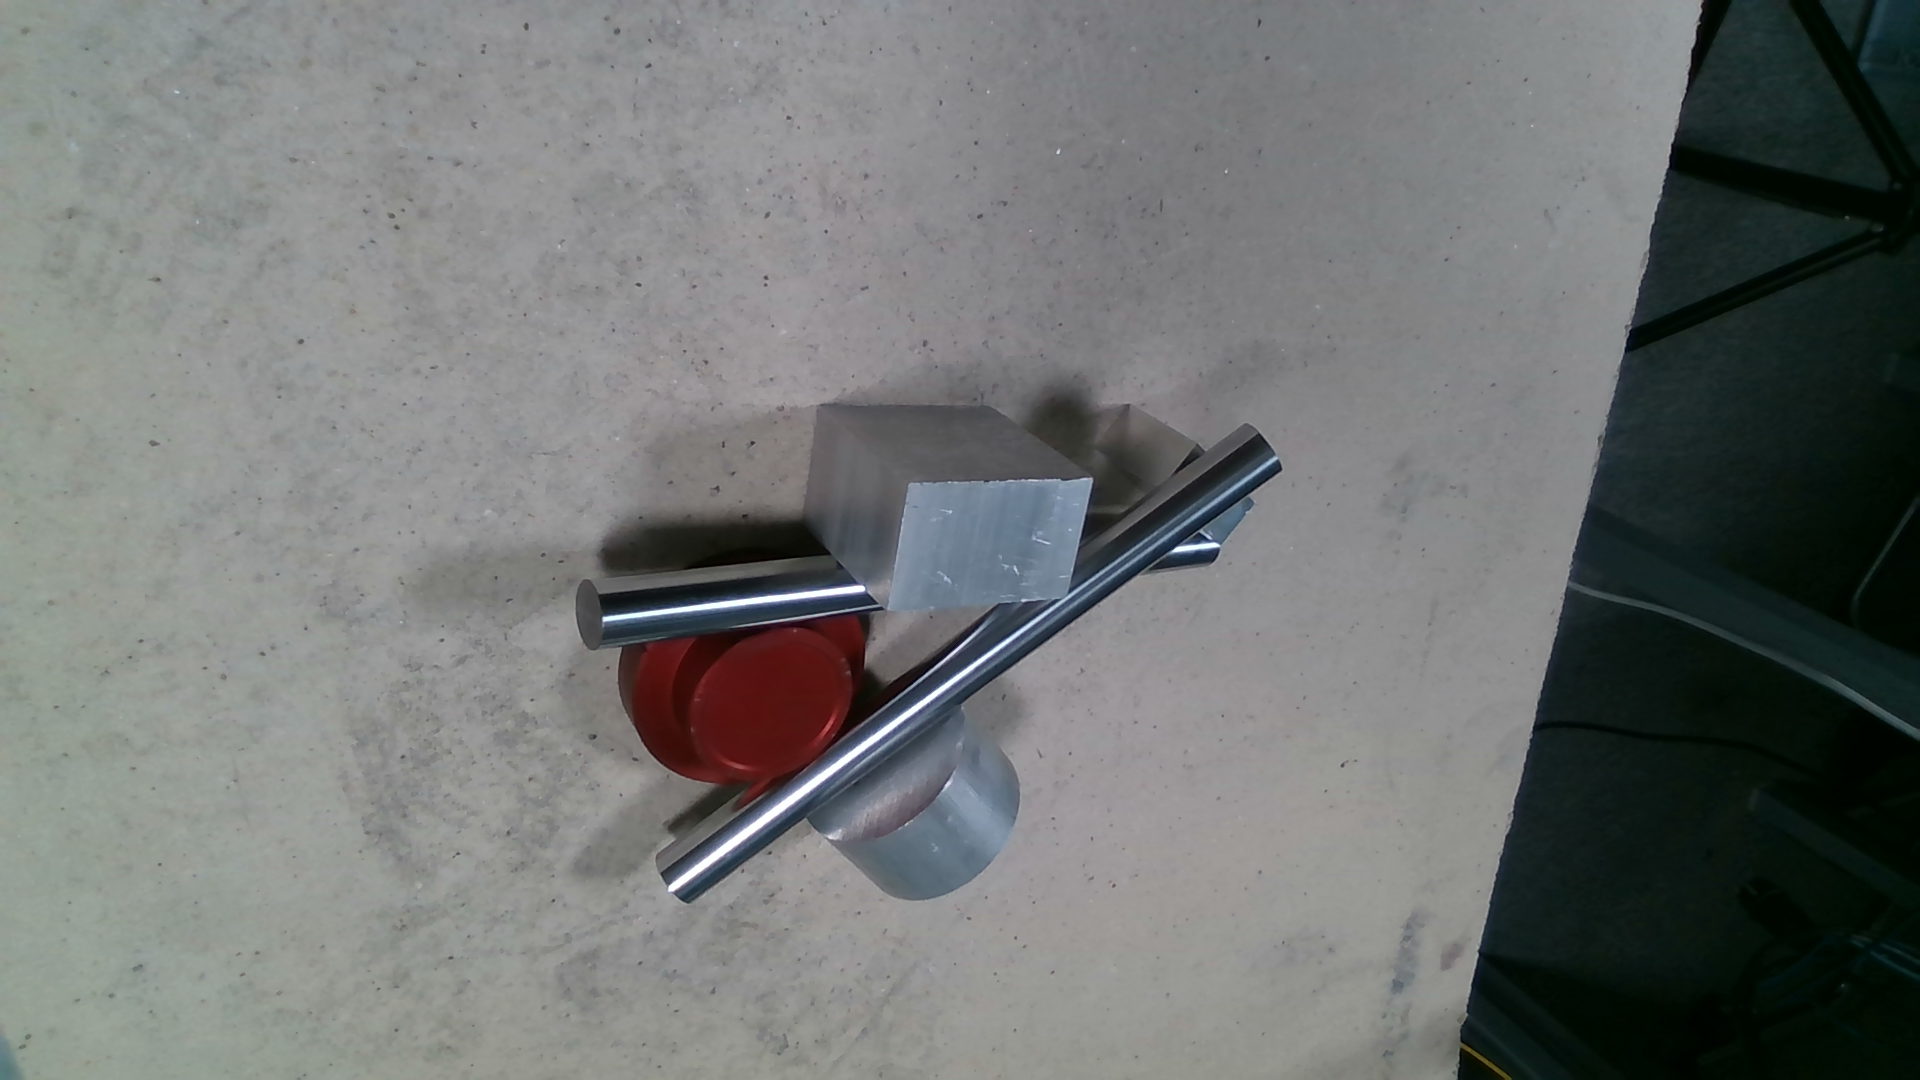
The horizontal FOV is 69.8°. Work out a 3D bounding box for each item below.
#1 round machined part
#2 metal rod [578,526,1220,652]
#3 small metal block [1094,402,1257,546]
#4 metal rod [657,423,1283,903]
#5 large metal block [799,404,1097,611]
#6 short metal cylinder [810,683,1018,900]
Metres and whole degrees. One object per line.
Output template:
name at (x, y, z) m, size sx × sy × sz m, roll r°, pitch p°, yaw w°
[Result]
round machined part at (-0.083, 0.056, 0.550) m, size 0.098 × 0.042 × 0.098 m, roll -14°, pitch 122°, yaw -25°
metal rod at (-0.007, 0.013, 0.564) m, size 0.300 × 0.025 × 0.025 m, roll -6°, pitch 118°, yaw -36°
small metal block at (0.095, -0.029, 0.607) m, size 0.050 × 0.050 × 0.025 m, roll 37°, pitch 93°, yaw -39°
metal rod at (0.003, 0.051, 0.566) m, size 0.300 × 0.025 × 0.025 m, roll -36°, pitch 129°, yaw 1°
large metal block at (-0.007, -0.016, 0.533) m, size 0.080 × 0.080 × 0.050 m, roll -3°, pitch 116°, yaw -30°
short metal cylinder at (-0.022, 0.106, 0.590) m, size 0.080 × 0.080 × 0.050 m, roll -41°, pitch 129°, yaw -6°
